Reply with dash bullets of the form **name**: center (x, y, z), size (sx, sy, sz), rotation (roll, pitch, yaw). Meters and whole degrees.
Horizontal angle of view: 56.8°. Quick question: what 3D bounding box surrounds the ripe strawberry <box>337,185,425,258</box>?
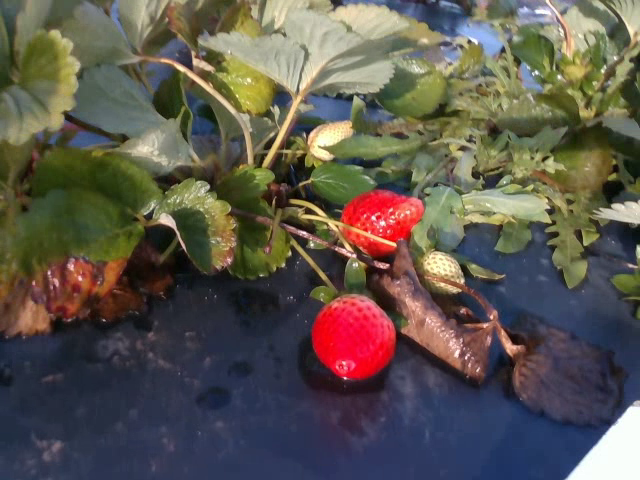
- **ripe strawberry**: center (0.032, -0.015, 0.284), size (0.048, 0.032, 0.039), rotation (-29, 6, 47)

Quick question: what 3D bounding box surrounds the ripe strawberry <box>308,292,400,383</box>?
- **ripe strawberry**: center (0.010, 0.036, 0.212), size (0.035, 0.030, 0.043), rotation (7, 30, 11)
